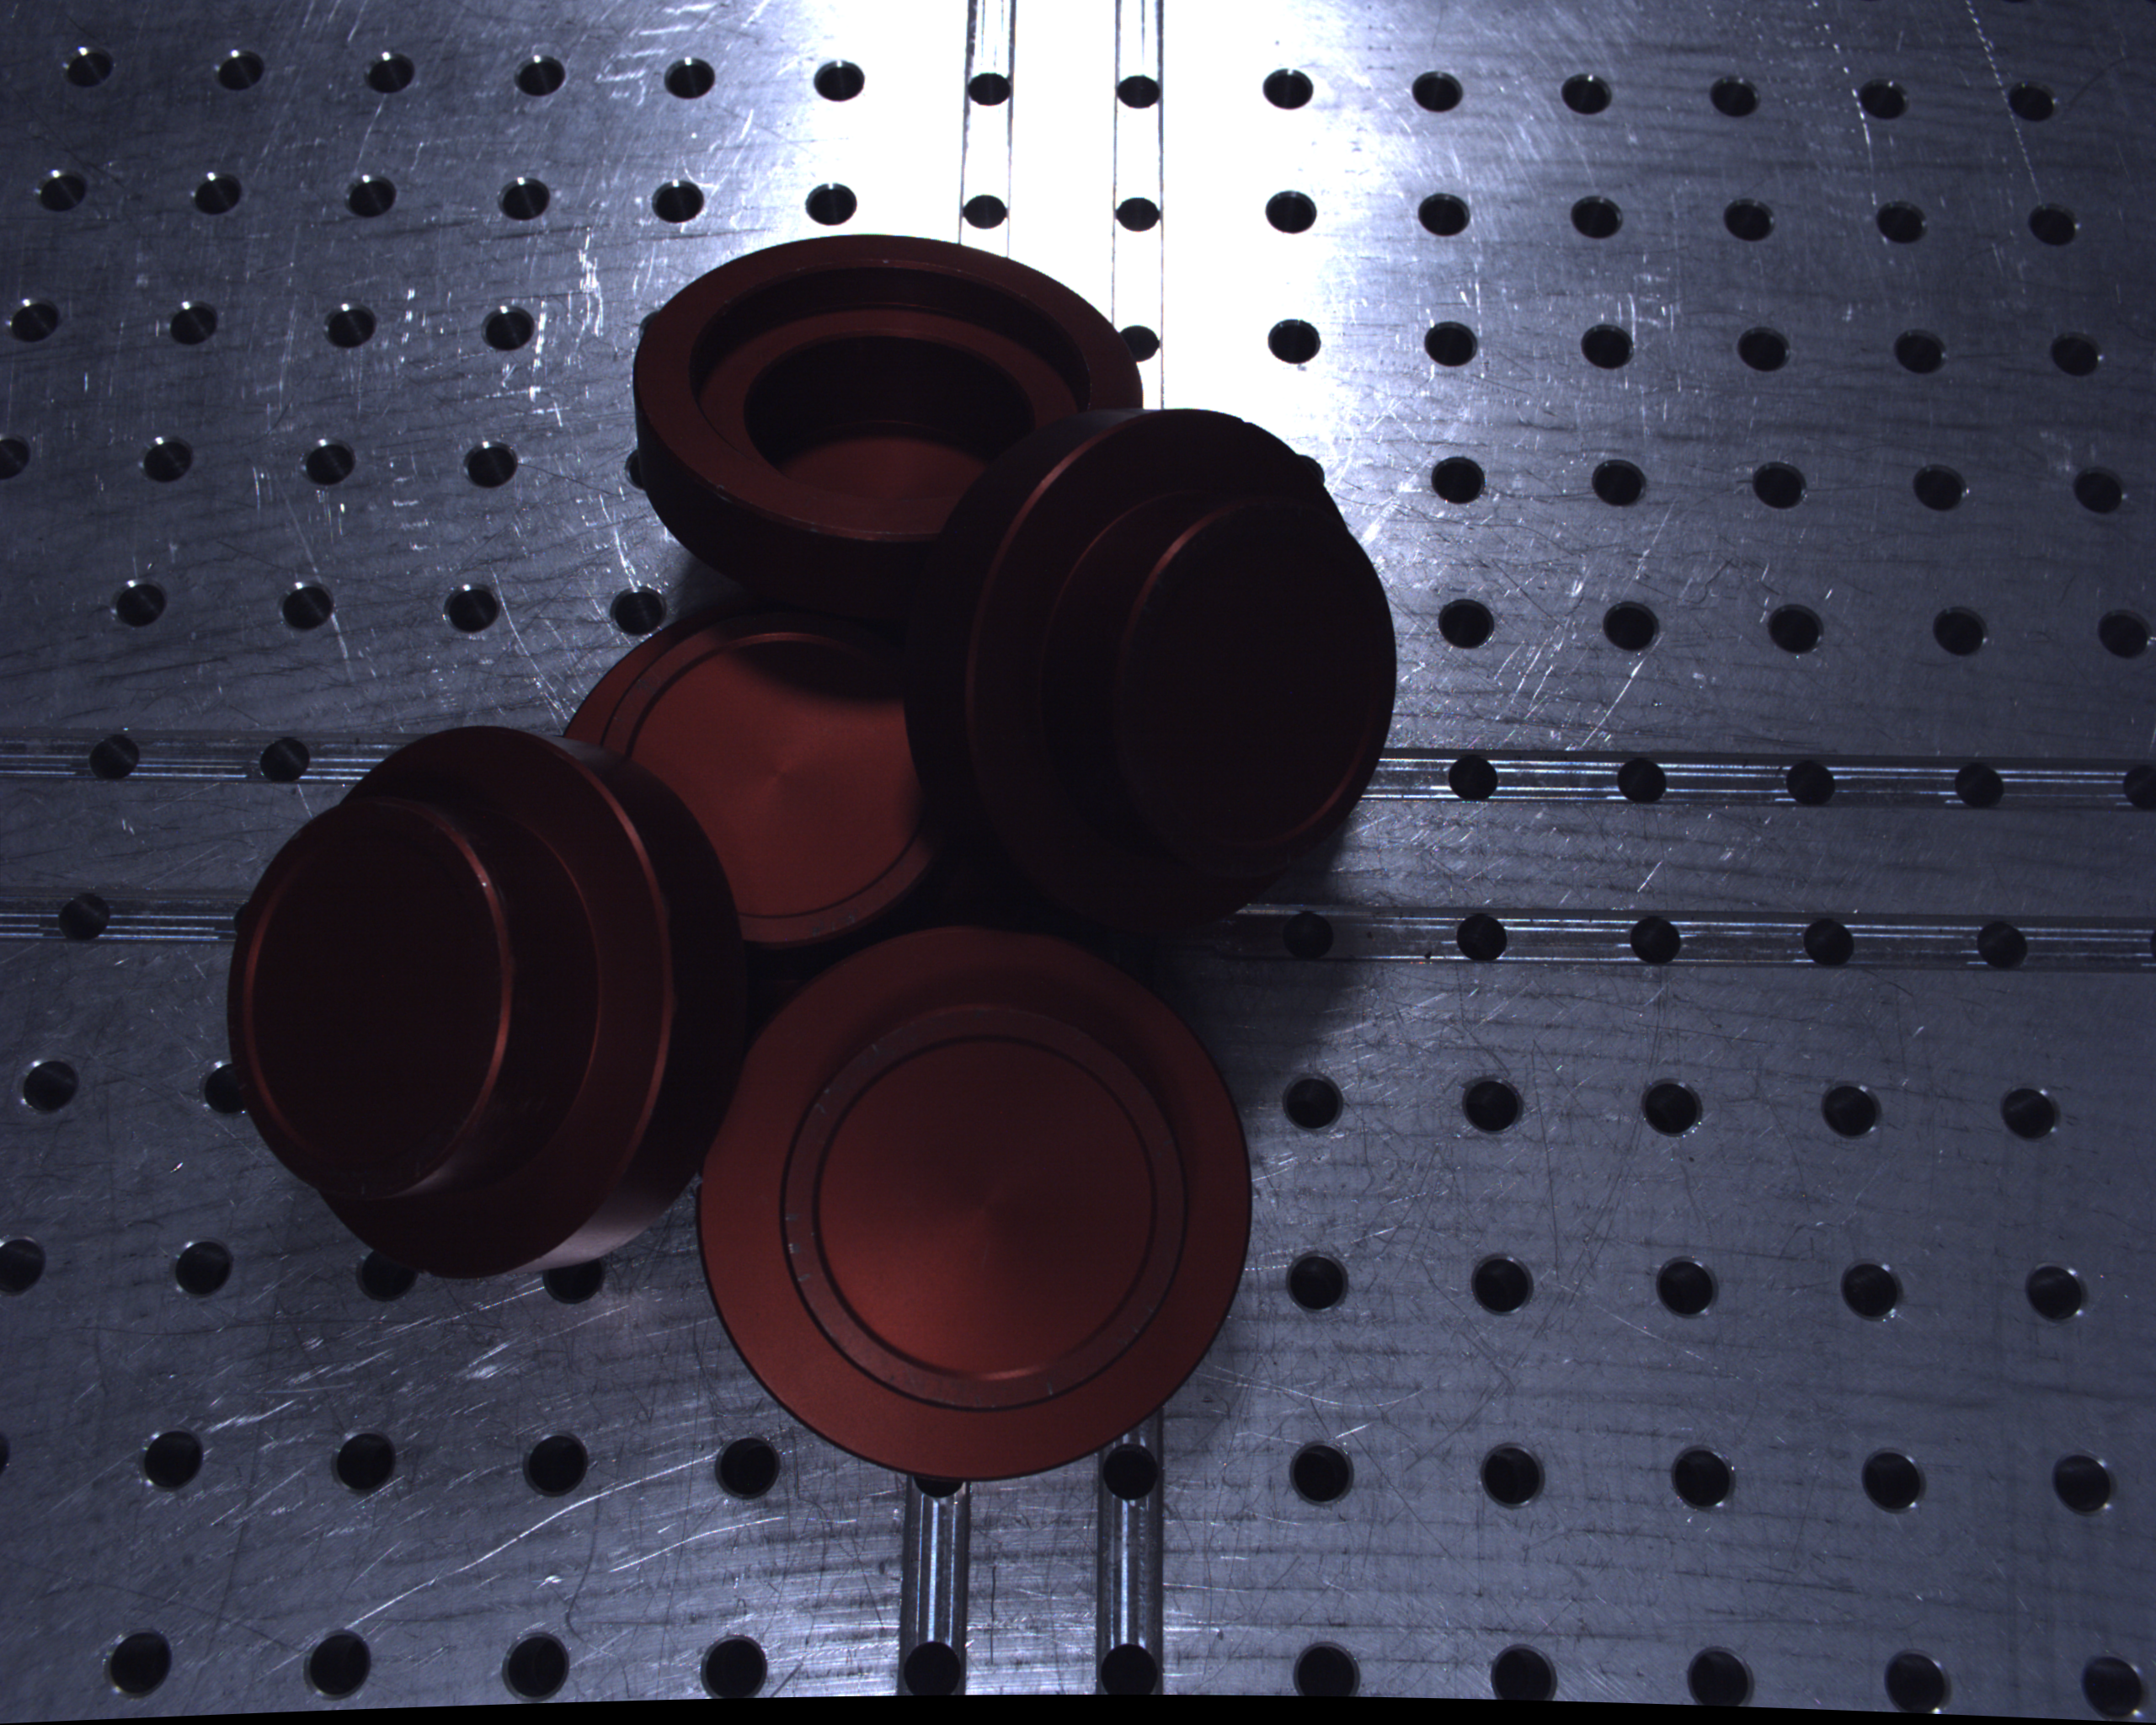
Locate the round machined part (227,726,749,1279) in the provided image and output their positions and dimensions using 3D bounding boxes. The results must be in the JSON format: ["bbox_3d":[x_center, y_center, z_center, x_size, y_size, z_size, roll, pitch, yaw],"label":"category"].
[{"bbox_3d":[-0.110,0.024,0.367,0.098,0.042,0.097,-3,83,29],"label":"round machined part"}]

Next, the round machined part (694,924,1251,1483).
[{"bbox_3d":[-0.018,0.059,0.368,0.099,0.042,0.097,1,81,-6],"label":"round machined part"}]

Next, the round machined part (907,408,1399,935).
[{"bbox_3d":[0.021,-0.034,0.384,0.042,0.098,0.098,15,64,49],"label":"round machined part"}]

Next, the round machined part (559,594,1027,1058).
[{"bbox_3d":[-0.056,-0.010,0.404,0.099,0.042,0.098,0,70,-1],"label":"round machined part"}]

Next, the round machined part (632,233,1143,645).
[{"bbox_3d":[-0.038,-0.082,0.420,0.099,0.042,0.098,4,49,-4],"label":"round machined part"}]
